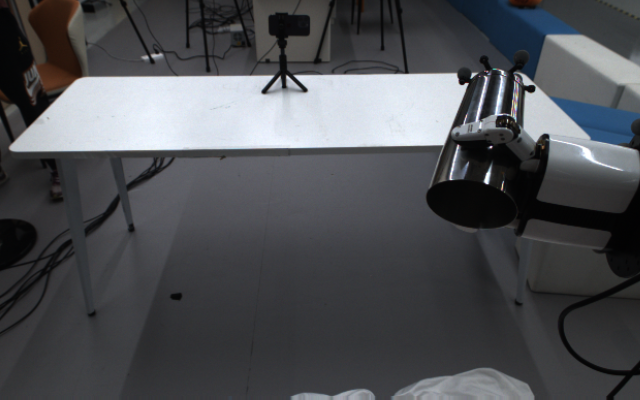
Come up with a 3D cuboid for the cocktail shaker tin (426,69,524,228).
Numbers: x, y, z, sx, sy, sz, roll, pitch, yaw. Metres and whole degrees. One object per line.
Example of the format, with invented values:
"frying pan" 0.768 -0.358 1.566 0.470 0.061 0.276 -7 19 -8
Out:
"cocktail shaker tin" 0.183 -0.064 0.540 0.093 0.093 0.170 13 60 16
